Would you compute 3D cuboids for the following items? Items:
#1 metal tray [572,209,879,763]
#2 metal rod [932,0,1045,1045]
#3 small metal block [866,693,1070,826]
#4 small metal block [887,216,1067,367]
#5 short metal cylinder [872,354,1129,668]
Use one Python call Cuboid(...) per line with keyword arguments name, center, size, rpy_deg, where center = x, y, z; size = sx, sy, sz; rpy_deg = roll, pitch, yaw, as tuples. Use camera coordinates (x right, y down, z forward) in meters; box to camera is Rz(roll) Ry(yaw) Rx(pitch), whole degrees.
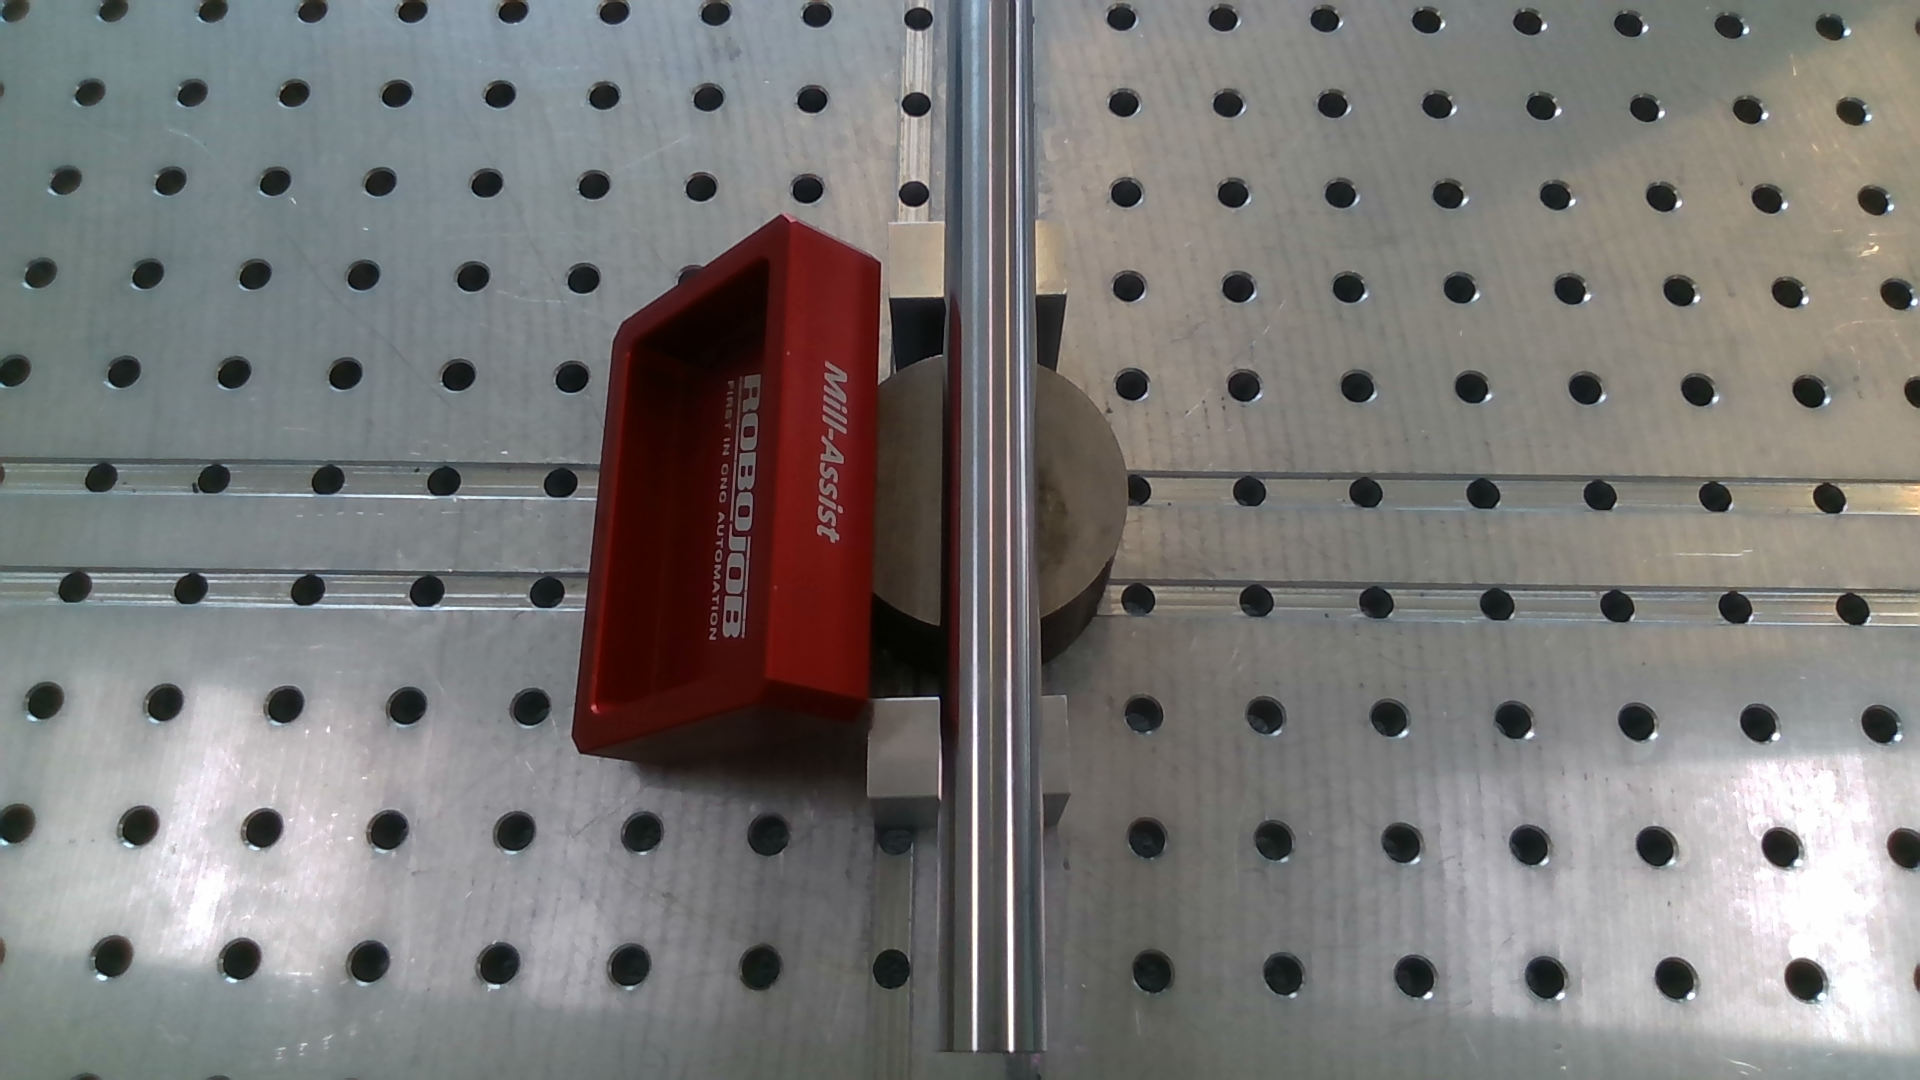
Cuboid(name="metal tray", center=(-0.063, -0.011, 0.370), size=(0.030, 0.090, 0.130), rpy_deg=(18, 64, -40))
Cuboid(name="metal rod", center=(0.008, -0.029, 0.355), size=(0.025, 0.025, 0.299), rpy_deg=(1, 70, 0))
Cuboid(name="small metal block", center=(0.002, 0.059, 0.364), size=(0.050, 0.050, 0.025), rpy_deg=(-1, 70, 0))
Cuboid(name="small metal block", center=(0.005, -0.071, 0.410), size=(0.050, 0.050, 0.025), rpy_deg=(-1, 70, 0))
Cuboid(name="short metal cylinder", center=(0.005, -0.006, 0.387), size=(0.080, 0.050, 0.080), rpy_deg=(0, 70, 0))
